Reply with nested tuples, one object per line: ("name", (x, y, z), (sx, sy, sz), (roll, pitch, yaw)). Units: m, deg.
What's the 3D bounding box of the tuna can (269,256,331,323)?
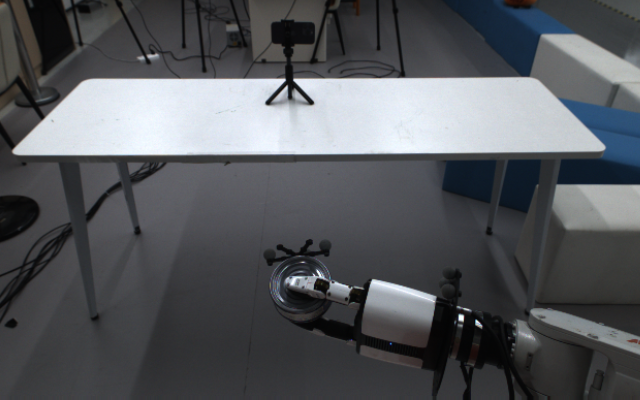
("tuna can", (-0.020, 0.125, 0.649), (0.085, 0.034, 0.085), (-3, 59, 5))
